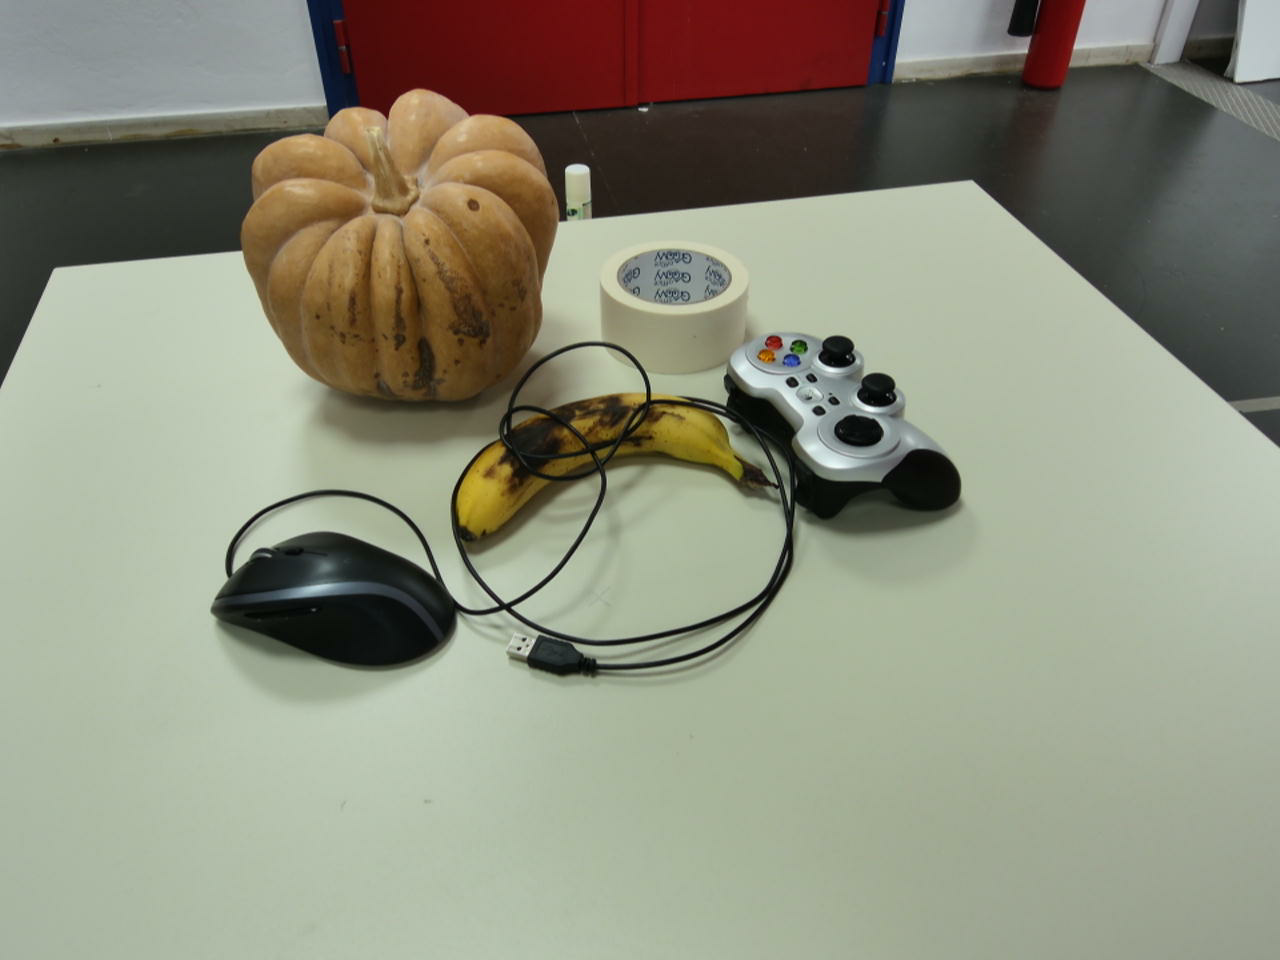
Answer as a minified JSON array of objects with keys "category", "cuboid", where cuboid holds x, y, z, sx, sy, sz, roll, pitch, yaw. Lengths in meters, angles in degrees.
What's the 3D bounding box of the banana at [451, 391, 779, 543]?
[{"category":"banana","cuboid":[-0.023,-0.015,0.598,0.187,0.039,0.094,-9,40,-11]}]
